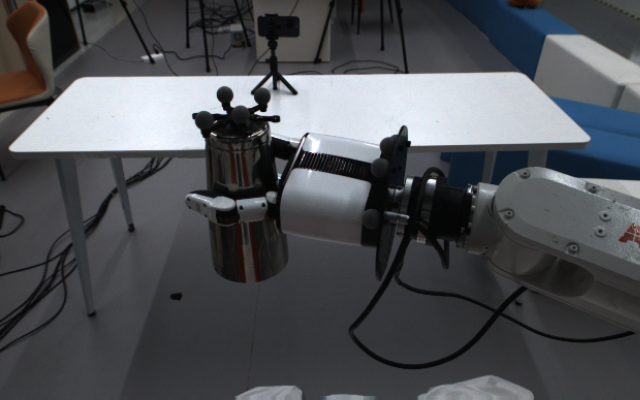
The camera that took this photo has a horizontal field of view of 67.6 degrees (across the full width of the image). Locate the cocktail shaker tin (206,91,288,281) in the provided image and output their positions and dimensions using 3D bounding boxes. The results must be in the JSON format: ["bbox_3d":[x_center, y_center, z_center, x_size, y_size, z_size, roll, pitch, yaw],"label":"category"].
[{"bbox_3d":[-0.081,-0.004,0.534,0.093,0.170,0.093,0,33,0],"label":"cocktail shaker tin"}]
